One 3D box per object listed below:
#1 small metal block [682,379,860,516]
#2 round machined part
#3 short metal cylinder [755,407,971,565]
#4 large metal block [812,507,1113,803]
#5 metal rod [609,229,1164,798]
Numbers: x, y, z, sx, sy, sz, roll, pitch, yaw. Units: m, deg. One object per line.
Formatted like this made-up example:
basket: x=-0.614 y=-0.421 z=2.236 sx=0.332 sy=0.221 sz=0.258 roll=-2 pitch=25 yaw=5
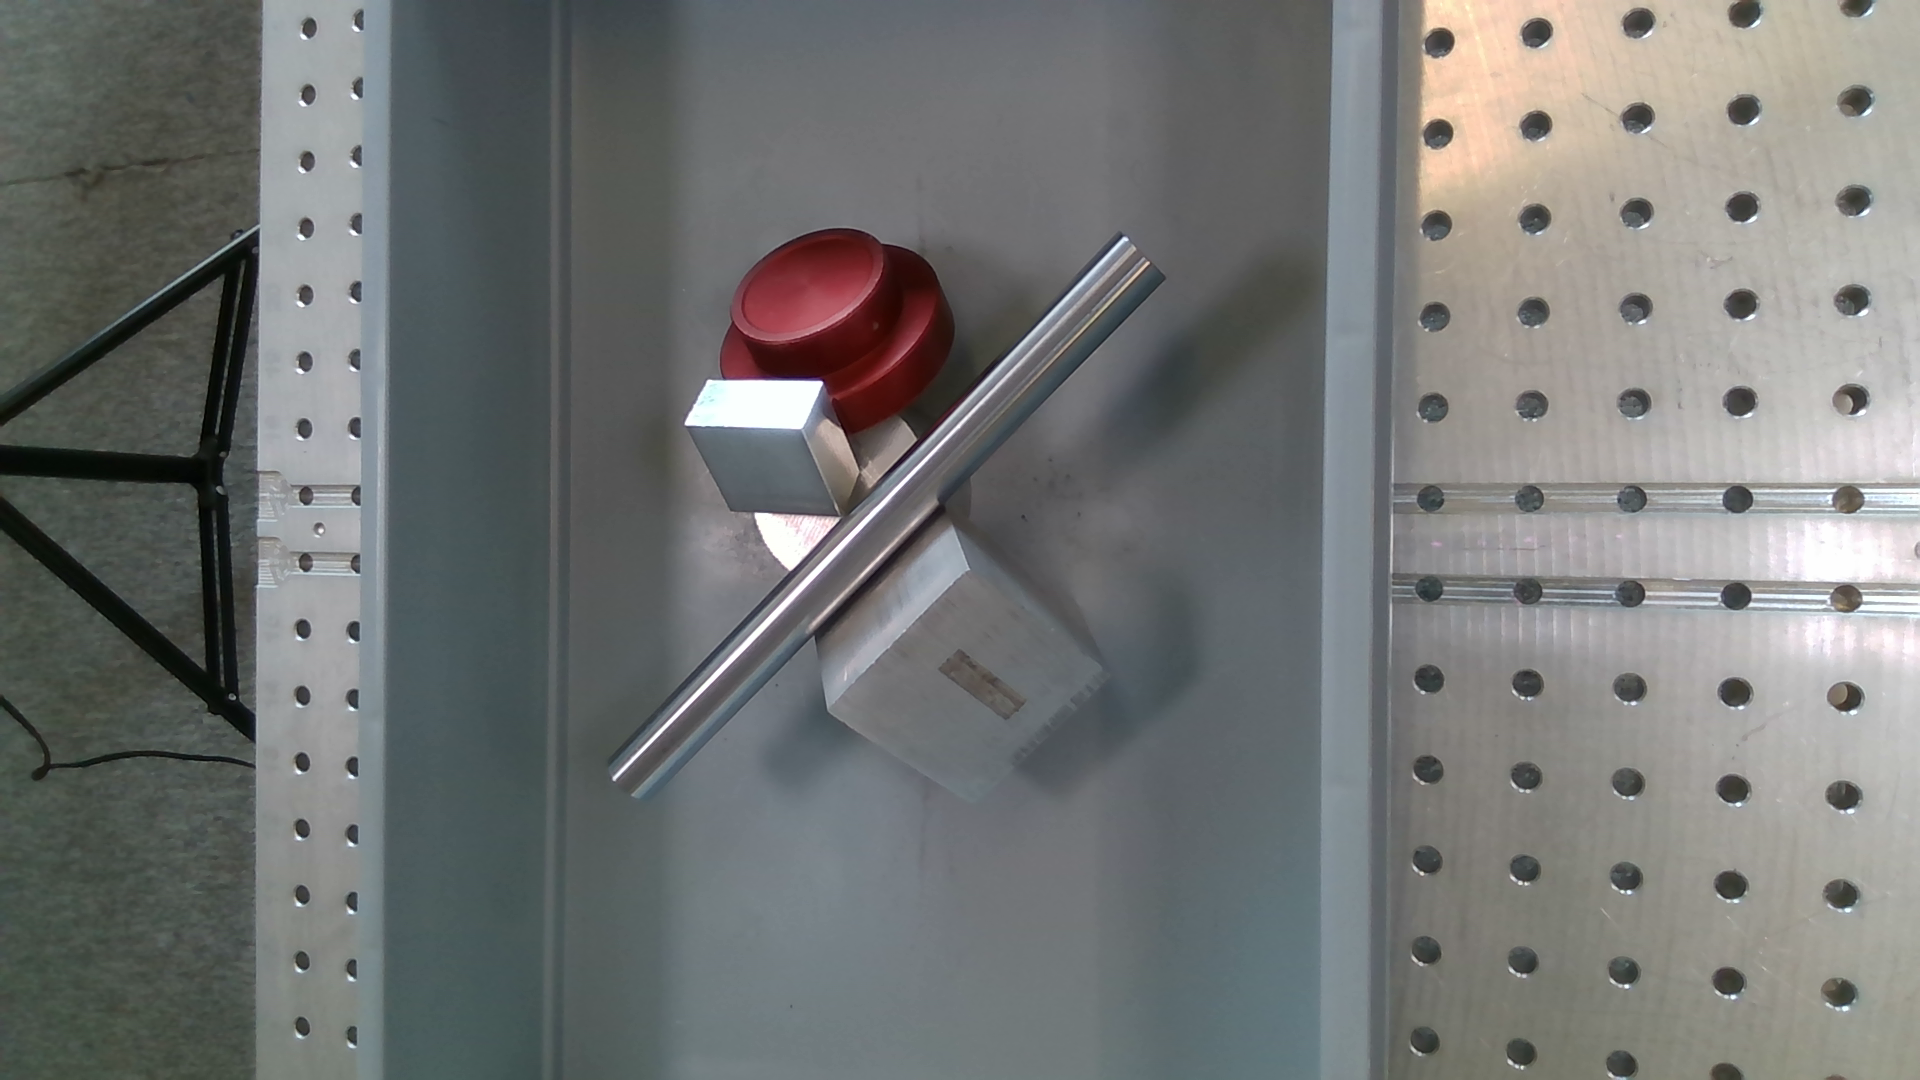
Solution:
small metal block: x=-0.073 y=-0.036 z=0.543 sx=0.050 sy=0.050 sz=0.025 roll=3 pitch=51 yaw=20
round machined part: x=-0.056 y=-0.091 z=0.568 sx=0.098 sy=0.042 sz=0.098 roll=-13 pitch=48 yaw=14
short metal cylinder: x=-0.042 y=-0.021 z=0.586 sx=0.080 sy=0.050 sz=0.080 roll=0 pitch=91 yaw=20
large metal block: x=-0.001 y=0.045 z=0.549 sx=0.080 sy=0.050 sz=0.080 roll=36 pitch=107 yaw=-28
metal rod: x=-0.036 y=-0.003 z=0.545 sx=0.300 sy=0.025 sz=0.025 roll=-45 pitch=76 yaw=15
